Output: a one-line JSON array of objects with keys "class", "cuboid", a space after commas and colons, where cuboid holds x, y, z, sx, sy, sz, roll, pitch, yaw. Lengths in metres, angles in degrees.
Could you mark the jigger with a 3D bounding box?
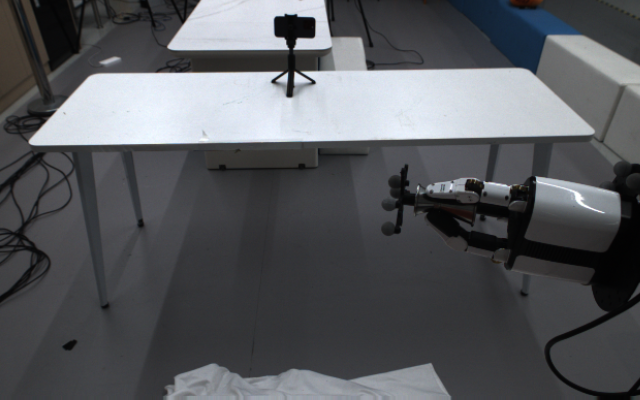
[{"class": "jigger", "cuboid": [0.153, -0.001, 0.564, 0.071, 0.043, 0.043, 8, 35, 15]}]
